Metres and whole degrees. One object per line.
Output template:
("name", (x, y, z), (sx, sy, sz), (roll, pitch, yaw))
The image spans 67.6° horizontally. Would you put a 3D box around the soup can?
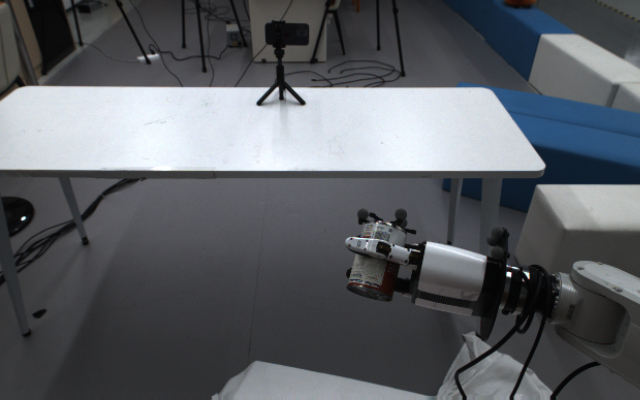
("soup can", (0.086, 0.088, 0.704), (0.067, 0.067, 0.101), (12, 70, 14))
